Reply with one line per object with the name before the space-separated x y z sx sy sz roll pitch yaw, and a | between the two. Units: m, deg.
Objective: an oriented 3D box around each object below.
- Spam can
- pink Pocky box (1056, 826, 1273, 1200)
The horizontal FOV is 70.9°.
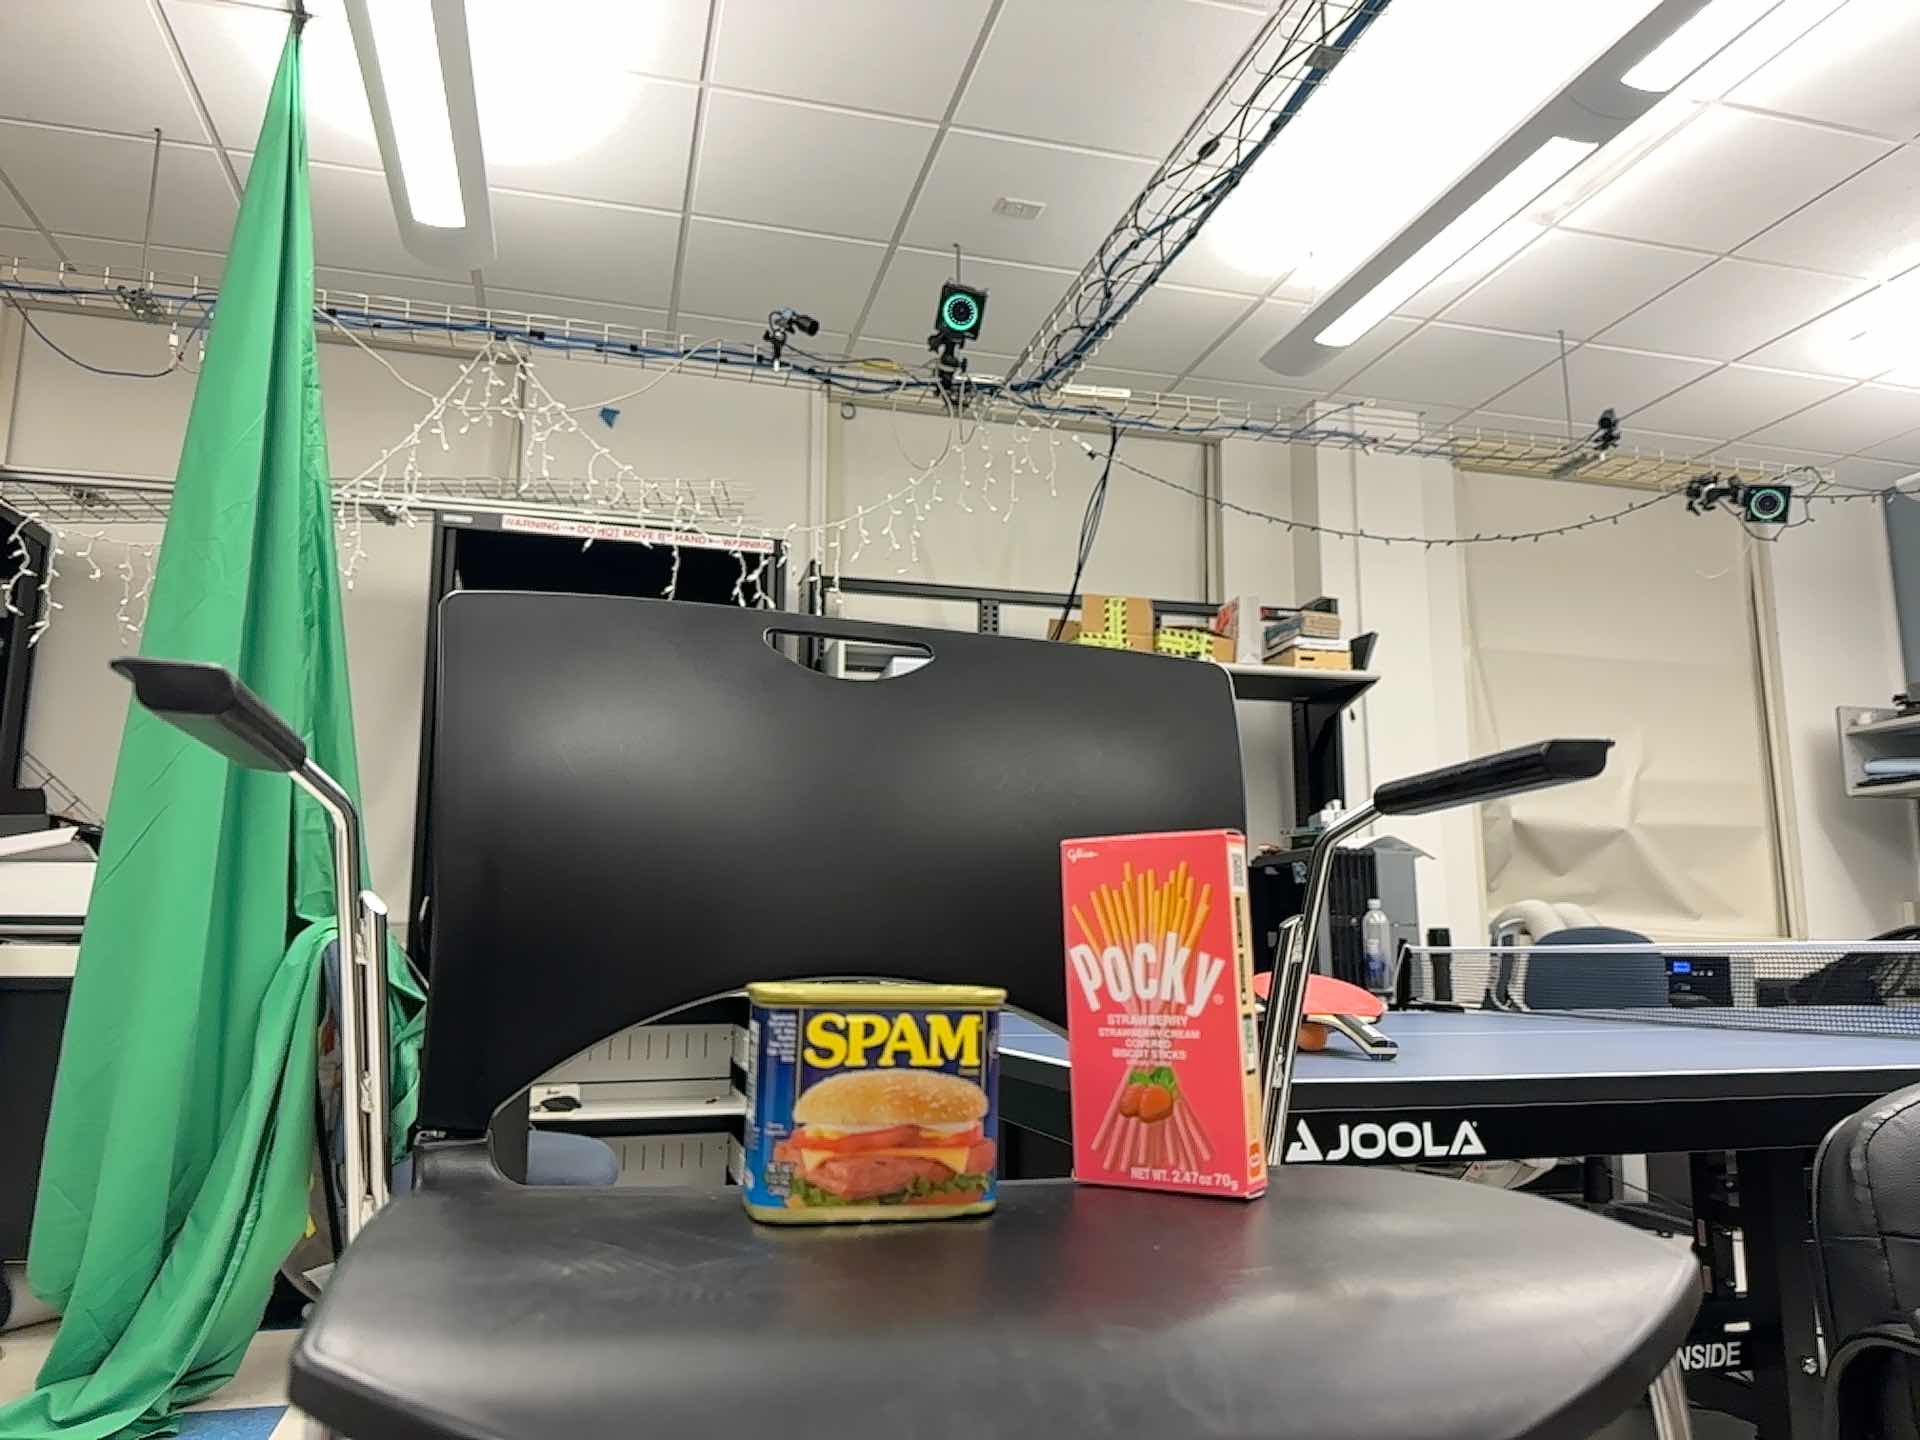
Spam can | -0.039 0.148 0.533 0.100 0.083 0.056 3 -10 -11
pink Pocky box | 0.088 0.127 0.593 0.084 0.155 0.029 -8 -11 32
